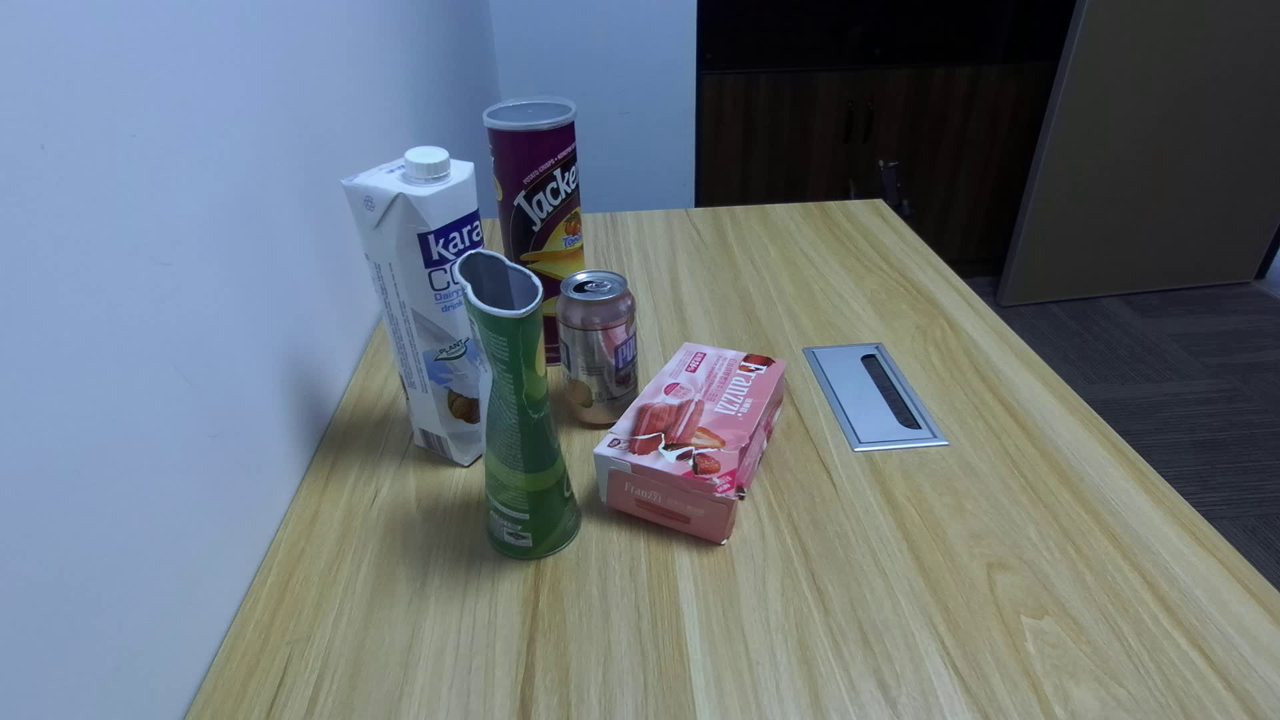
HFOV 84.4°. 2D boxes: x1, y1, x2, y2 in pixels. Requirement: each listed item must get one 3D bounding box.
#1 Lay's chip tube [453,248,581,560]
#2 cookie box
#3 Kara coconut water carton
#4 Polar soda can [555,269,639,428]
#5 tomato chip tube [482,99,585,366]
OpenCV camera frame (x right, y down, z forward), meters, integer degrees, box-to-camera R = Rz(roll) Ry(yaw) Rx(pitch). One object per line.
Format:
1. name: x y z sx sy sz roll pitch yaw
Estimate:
1. Lay's chip tube: -0.080 0.038 0.465 0.074 0.200 0.069 11 35 20
2. cookie box: 0.049 0.050 0.561 0.105 0.059 0.186 12 34 19
3. Kara coconut water carton: -0.152 -0.038 0.542 0.075 0.245 0.077 19 38 30
4. Polar soda can: -0.035 -0.011 0.607 0.067 0.126 0.067 -1 31 1
5. tomato chip tube: -0.089 -0.112 0.663 0.078 0.234 0.078 -1 33 1
